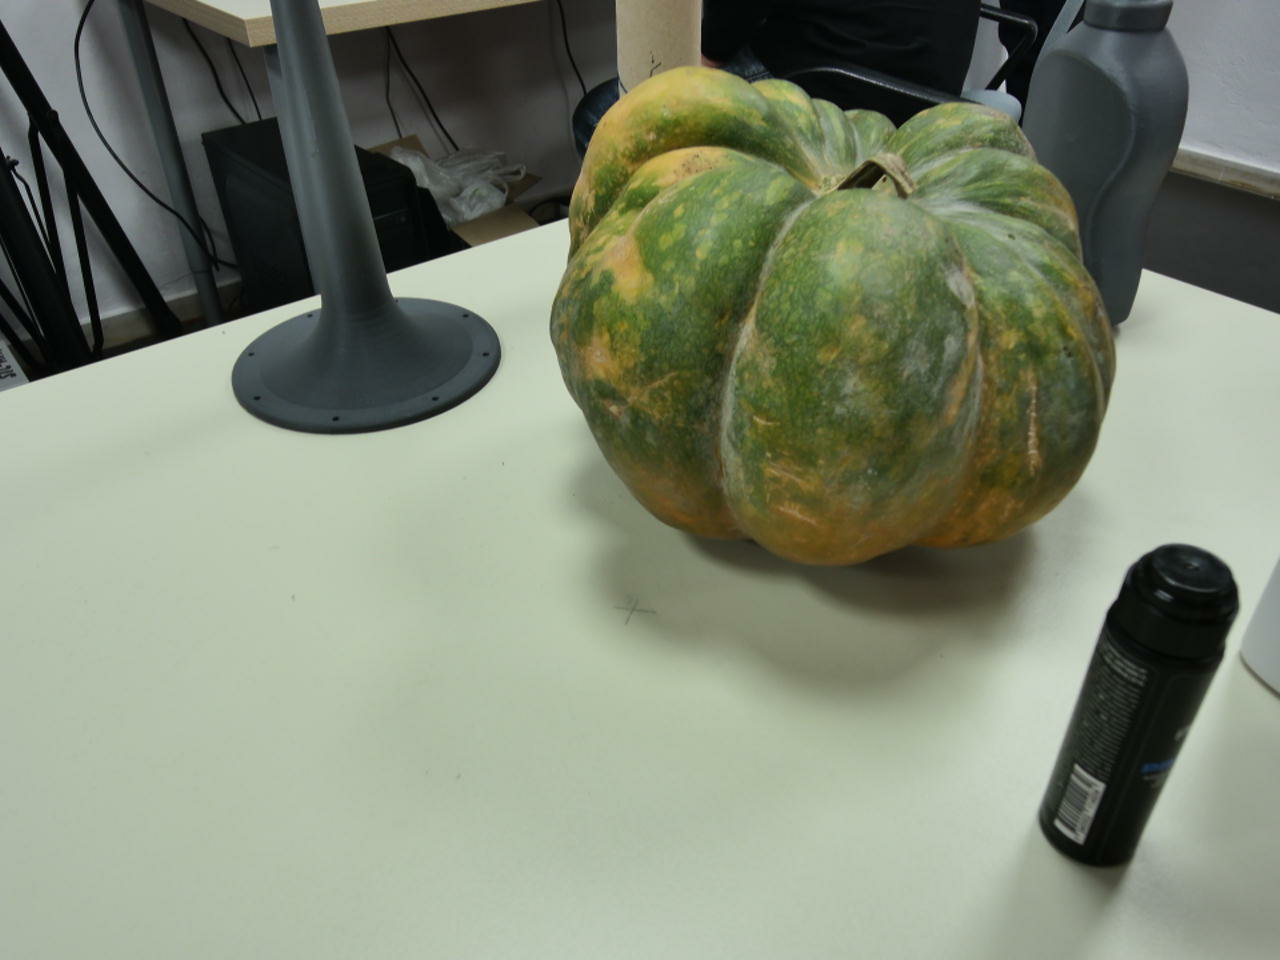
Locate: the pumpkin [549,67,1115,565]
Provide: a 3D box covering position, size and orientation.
[{"bbox_3d":[0.082,-0.076,0.437,0.237,0.173,0.270,0,35,0],"label":"pumpkin"}]
